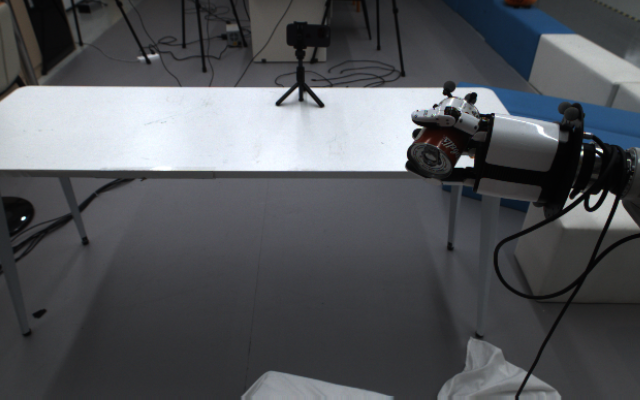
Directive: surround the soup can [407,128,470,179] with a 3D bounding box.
[{"bbox_3d":[0.178,-0.091,0.683,0.067,0.067,0.101,22,60,26],"label":"soup can"}]
